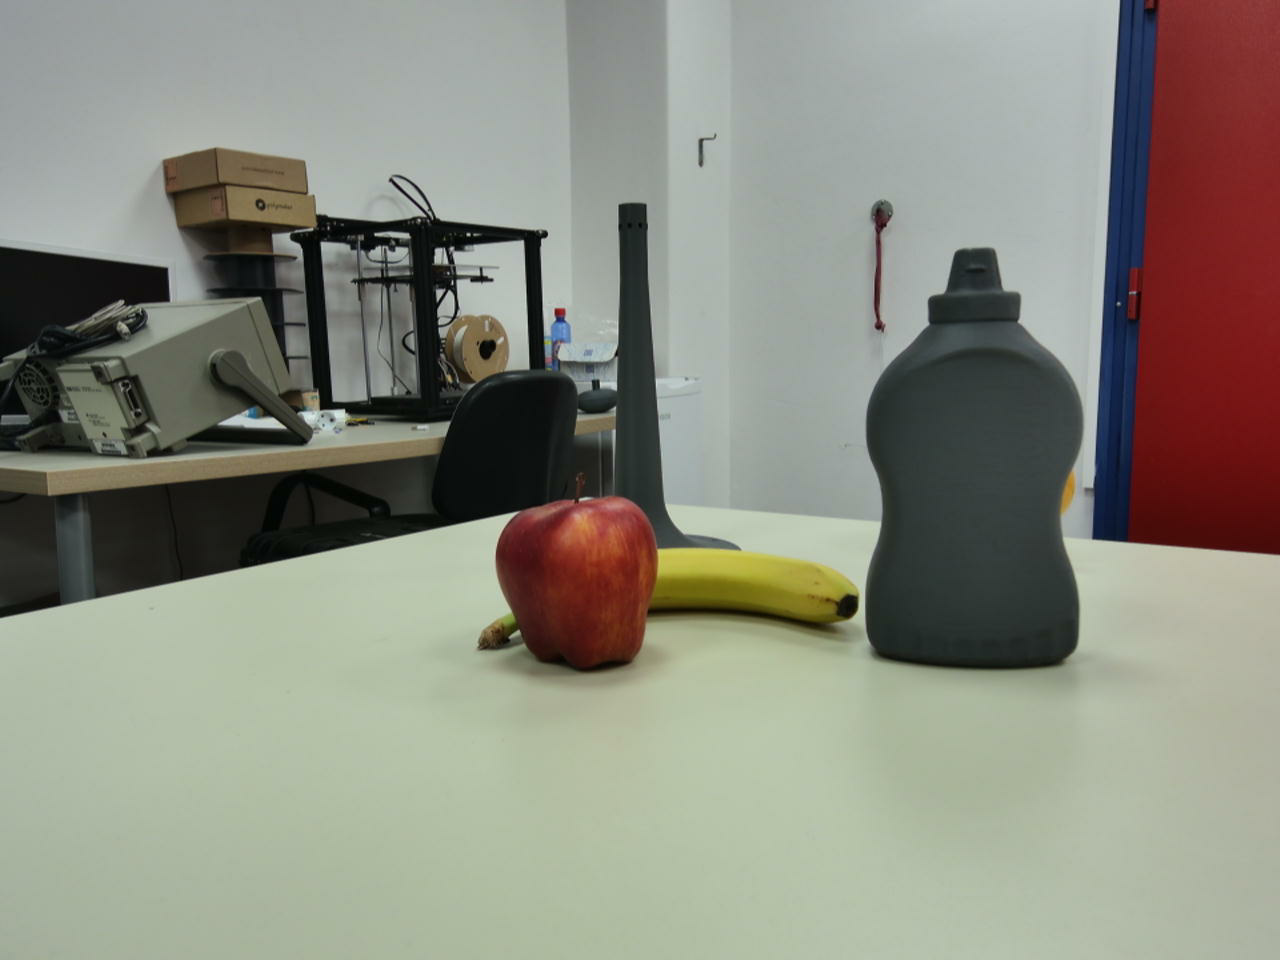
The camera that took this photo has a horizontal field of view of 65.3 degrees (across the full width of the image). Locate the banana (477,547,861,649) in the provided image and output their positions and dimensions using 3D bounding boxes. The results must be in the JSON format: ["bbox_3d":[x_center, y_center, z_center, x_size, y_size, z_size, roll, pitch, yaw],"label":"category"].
[{"bbox_3d":[0.016,0.061,0.554,0.196,0.041,0.094,1,5,0],"label":"banana"}]
